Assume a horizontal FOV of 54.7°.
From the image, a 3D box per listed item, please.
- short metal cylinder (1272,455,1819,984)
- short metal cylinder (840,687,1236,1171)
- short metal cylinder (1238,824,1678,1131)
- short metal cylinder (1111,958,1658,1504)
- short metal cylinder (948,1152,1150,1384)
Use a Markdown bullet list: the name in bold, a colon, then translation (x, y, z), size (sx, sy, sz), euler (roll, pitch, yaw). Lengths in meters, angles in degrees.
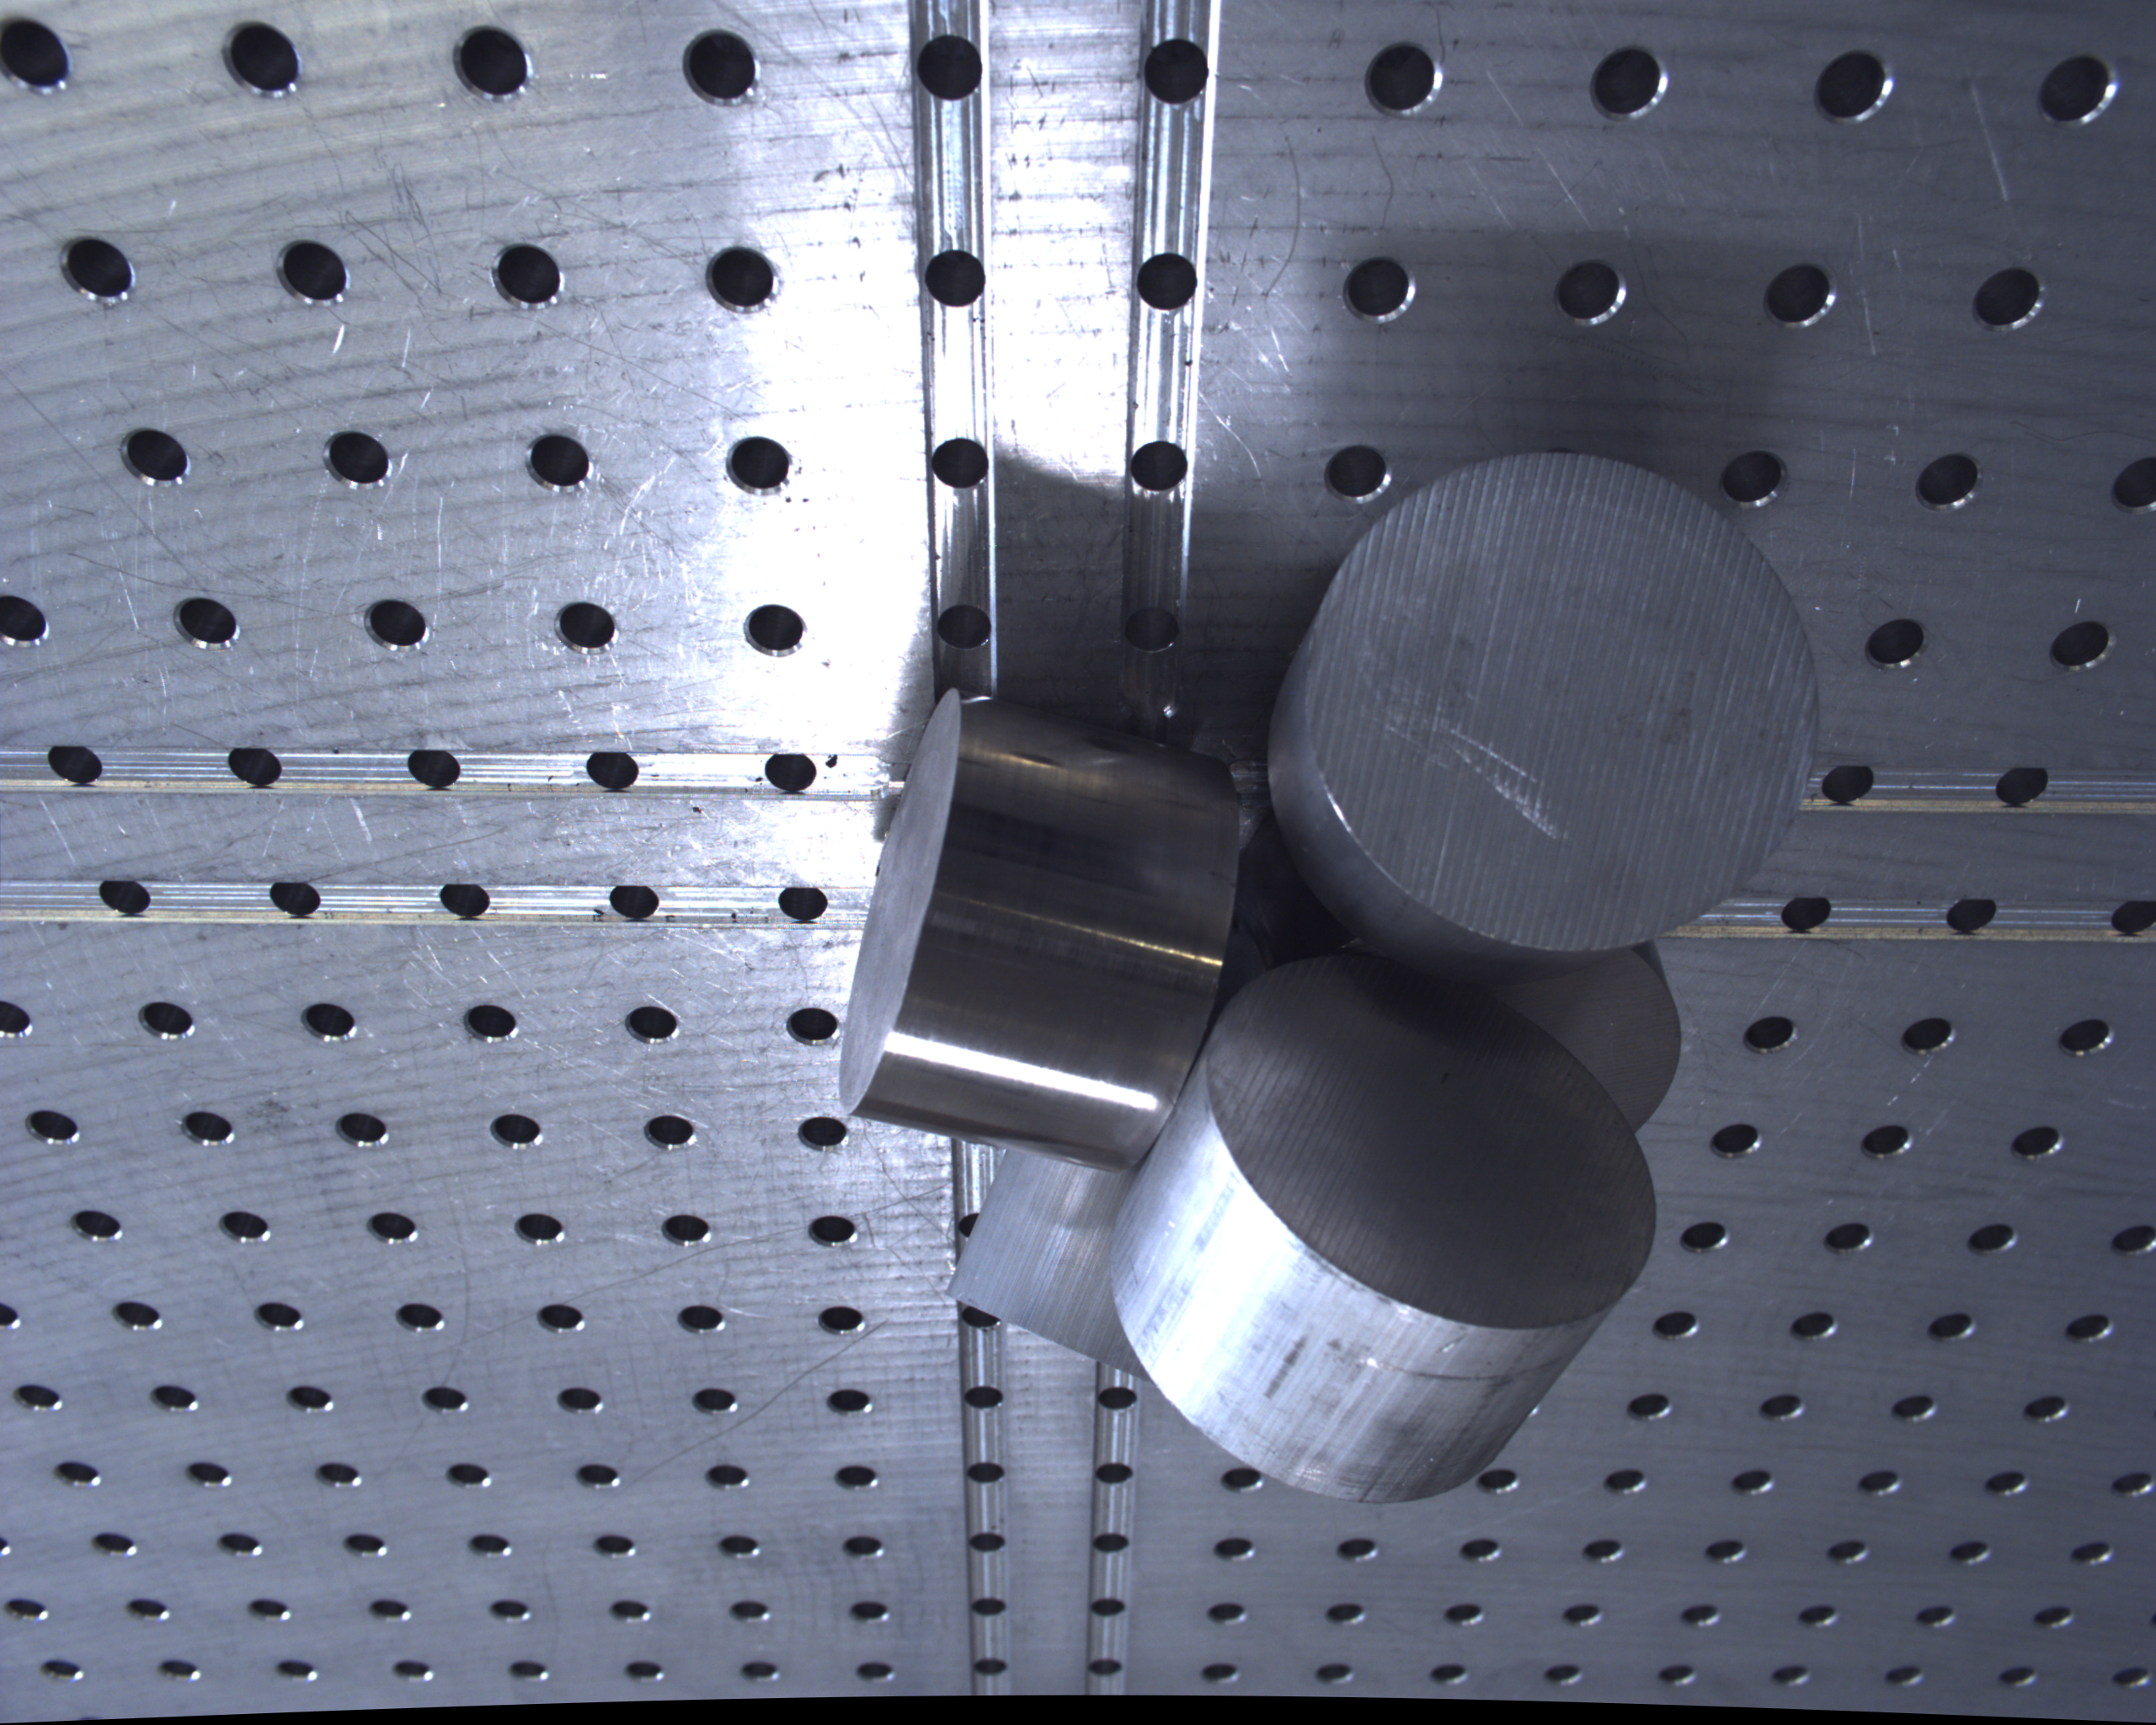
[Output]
- **short metal cylinder**: translation (0.075, -0.021, 0.349), size (0.081, 0.080, 0.050), euler (2, 170, -2)
- **short metal cylinder**: translation (-0.009, 0.013, 0.386), size (0.050, 0.080, 0.079), euler (15, 129, -12)
- **short metal cylinder**: translation (0.073, 0.023, 0.414), size (0.081, 0.050, 0.079), euler (0, 129, 0)
- **short metal cylinder**: translation (0.052, 0.062, 0.362), size (0.081, 0.080, 0.050), euler (13, 129, -11)
- **short metal cylinder**: translation (0.019, 0.083, 0.439), size (0.080, 0.050, 0.080), euler (22, 168, 5)
